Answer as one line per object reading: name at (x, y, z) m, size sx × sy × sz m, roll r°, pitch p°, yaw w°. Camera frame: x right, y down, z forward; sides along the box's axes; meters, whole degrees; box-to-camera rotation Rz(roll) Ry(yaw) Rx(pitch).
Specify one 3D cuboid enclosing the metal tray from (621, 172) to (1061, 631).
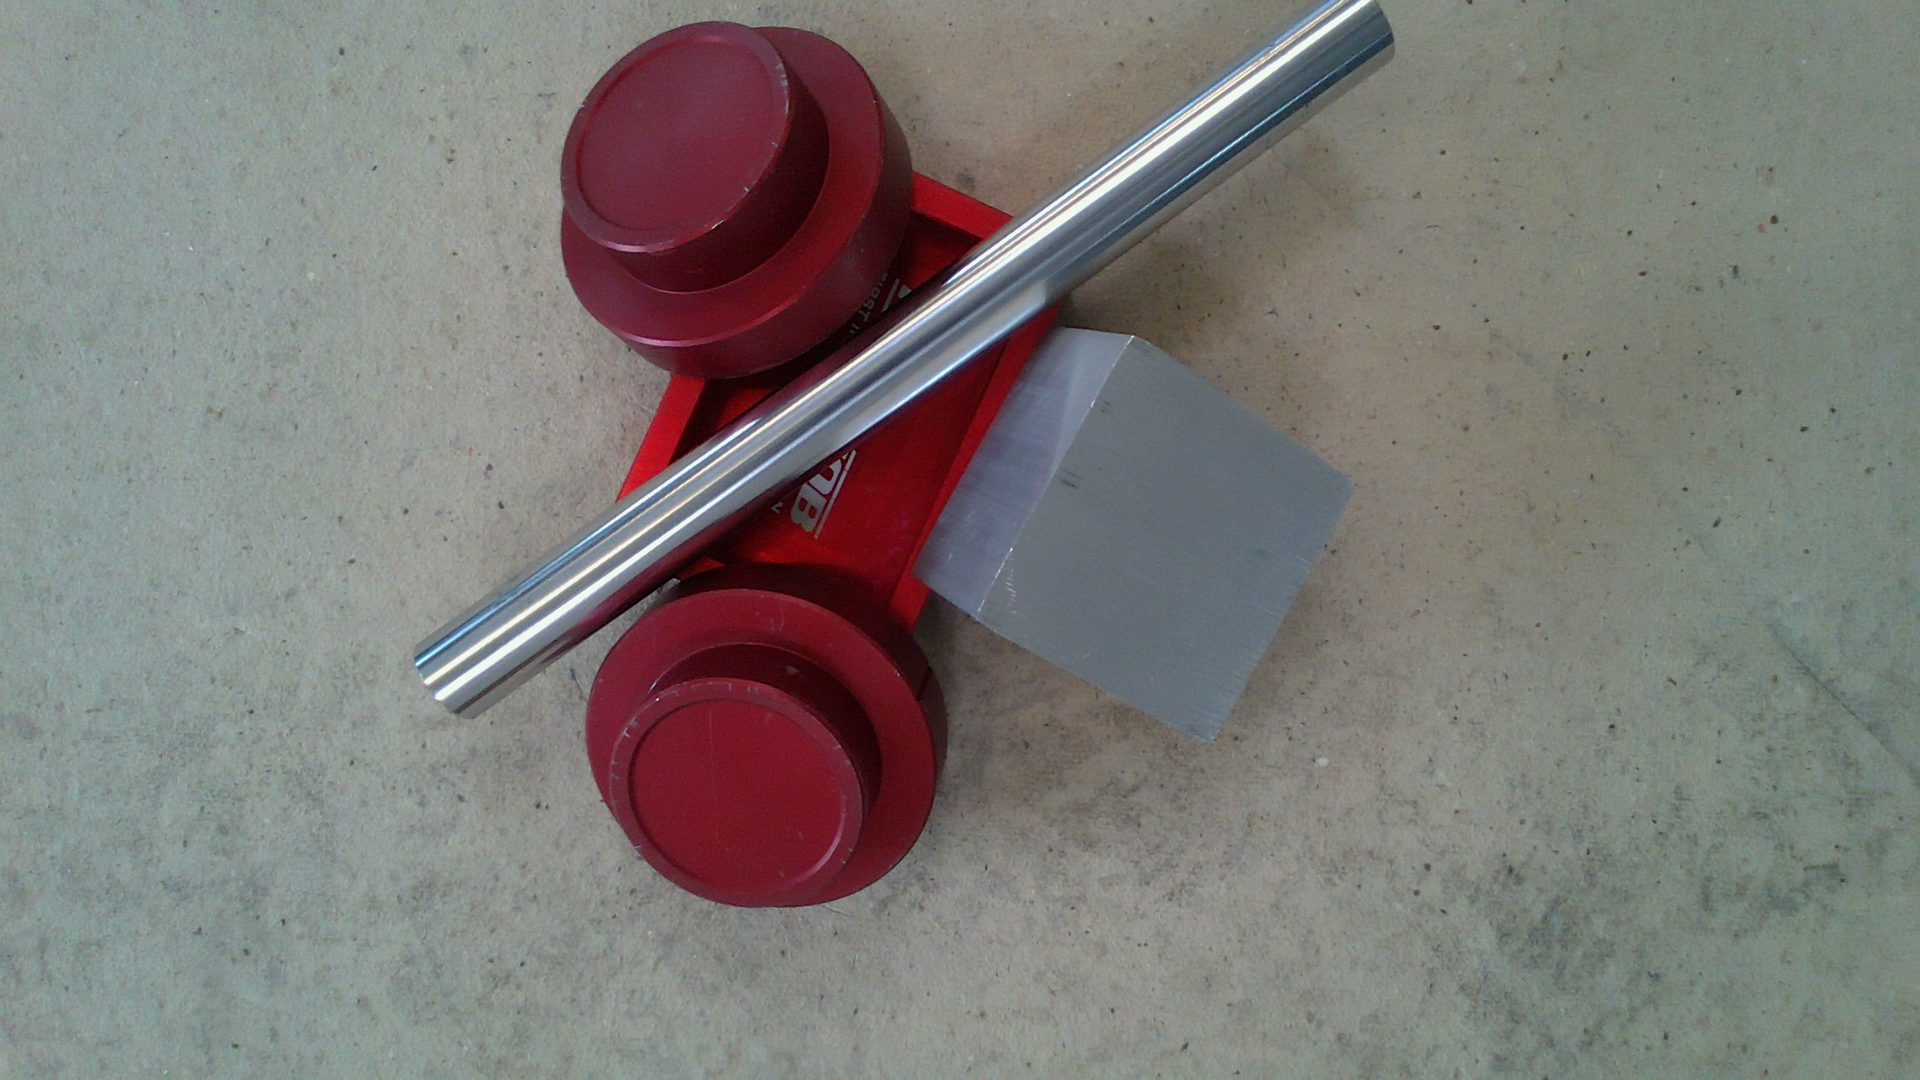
metal tray at (-0.033, -0.040, 0.393) m, size 0.090 × 0.030 × 0.130 m, roll 24°, pitch 90°, yaw 0°

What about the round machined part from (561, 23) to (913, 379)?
round machined part at (-0.065, -0.096, 0.366) m, size 0.098 × 0.042 × 0.098 m, roll -7°, pitch 68°, yaw 19°

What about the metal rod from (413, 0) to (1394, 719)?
metal rod at (-0.015, -0.050, 0.366) m, size 0.300 × 0.025 × 0.025 m, roll -36°, pitch 90°, yaw 0°

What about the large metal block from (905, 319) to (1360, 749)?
large metal block at (0.045, -0.003, 0.369) m, size 0.080 × 0.050 × 0.080 m, roll 29°, pitch 89°, yaw -24°

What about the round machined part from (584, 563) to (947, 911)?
round machined part at (-0.054, 0.059, 0.370) m, size 0.098 × 0.042 × 0.098 m, roll 2°, pitch 111°, yaw 7°
